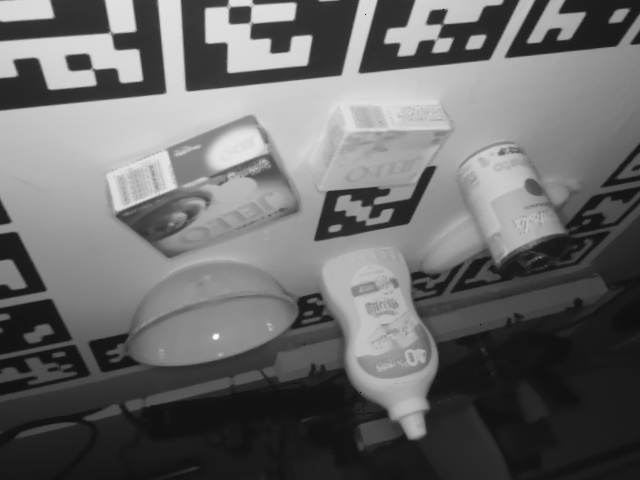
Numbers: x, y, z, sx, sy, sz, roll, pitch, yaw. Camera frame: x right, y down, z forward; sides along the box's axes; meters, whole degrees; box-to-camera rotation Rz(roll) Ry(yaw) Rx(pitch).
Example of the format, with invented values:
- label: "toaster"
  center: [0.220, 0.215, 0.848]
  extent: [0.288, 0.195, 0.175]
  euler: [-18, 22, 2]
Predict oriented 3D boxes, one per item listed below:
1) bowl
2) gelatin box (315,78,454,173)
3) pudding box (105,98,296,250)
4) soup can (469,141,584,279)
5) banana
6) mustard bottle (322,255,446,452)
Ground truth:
- label: "bowl"
  center: [-0.113, 0.060, 0.663]
  extent: [0.162, 0.055, 0.160]
  euler: [-15, 151, -8]
- label: "gelatin box"
  center: [0.048, -0.086, 0.527]
  extent: [0.090, 0.030, 0.072]
  euler: [-6, 145, -21]
- label: "pudding box"
  center: [-0.085, -0.046, 0.512]
  extent: [0.113, 0.039, 0.090]
  euler: [-22, 144, 6]
- label: "soup can"
  center: [0.177, -0.027, 0.607]
  extent: [0.068, 0.102, 0.067]
  euler: [-12, 151, -6]
- label: "banana"
  center: [0.194, -0.007, 0.730]
  extent: [0.194, 0.039, 0.075]
  euler: [-34, 156, 26]
- label: "mustard bottle"
  center: [0.070, 0.111, 0.681]
  extent: [0.097, 0.192, 0.058]
  euler: [-9, 151, -14]
